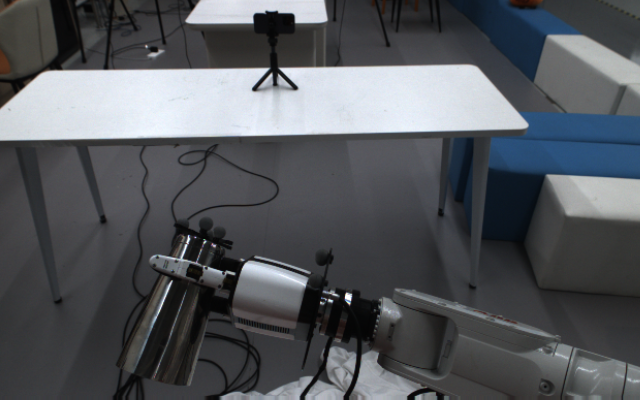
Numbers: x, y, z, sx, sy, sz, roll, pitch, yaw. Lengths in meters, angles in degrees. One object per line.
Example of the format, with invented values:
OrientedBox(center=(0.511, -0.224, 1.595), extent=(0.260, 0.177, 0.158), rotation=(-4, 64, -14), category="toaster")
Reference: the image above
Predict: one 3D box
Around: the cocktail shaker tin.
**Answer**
OrientedBox(center=(-0.178, 0.137, 0.613), extent=(0.093, 0.093, 0.170), rotation=(12, 73, 14), category="cocktail shaker tin")
